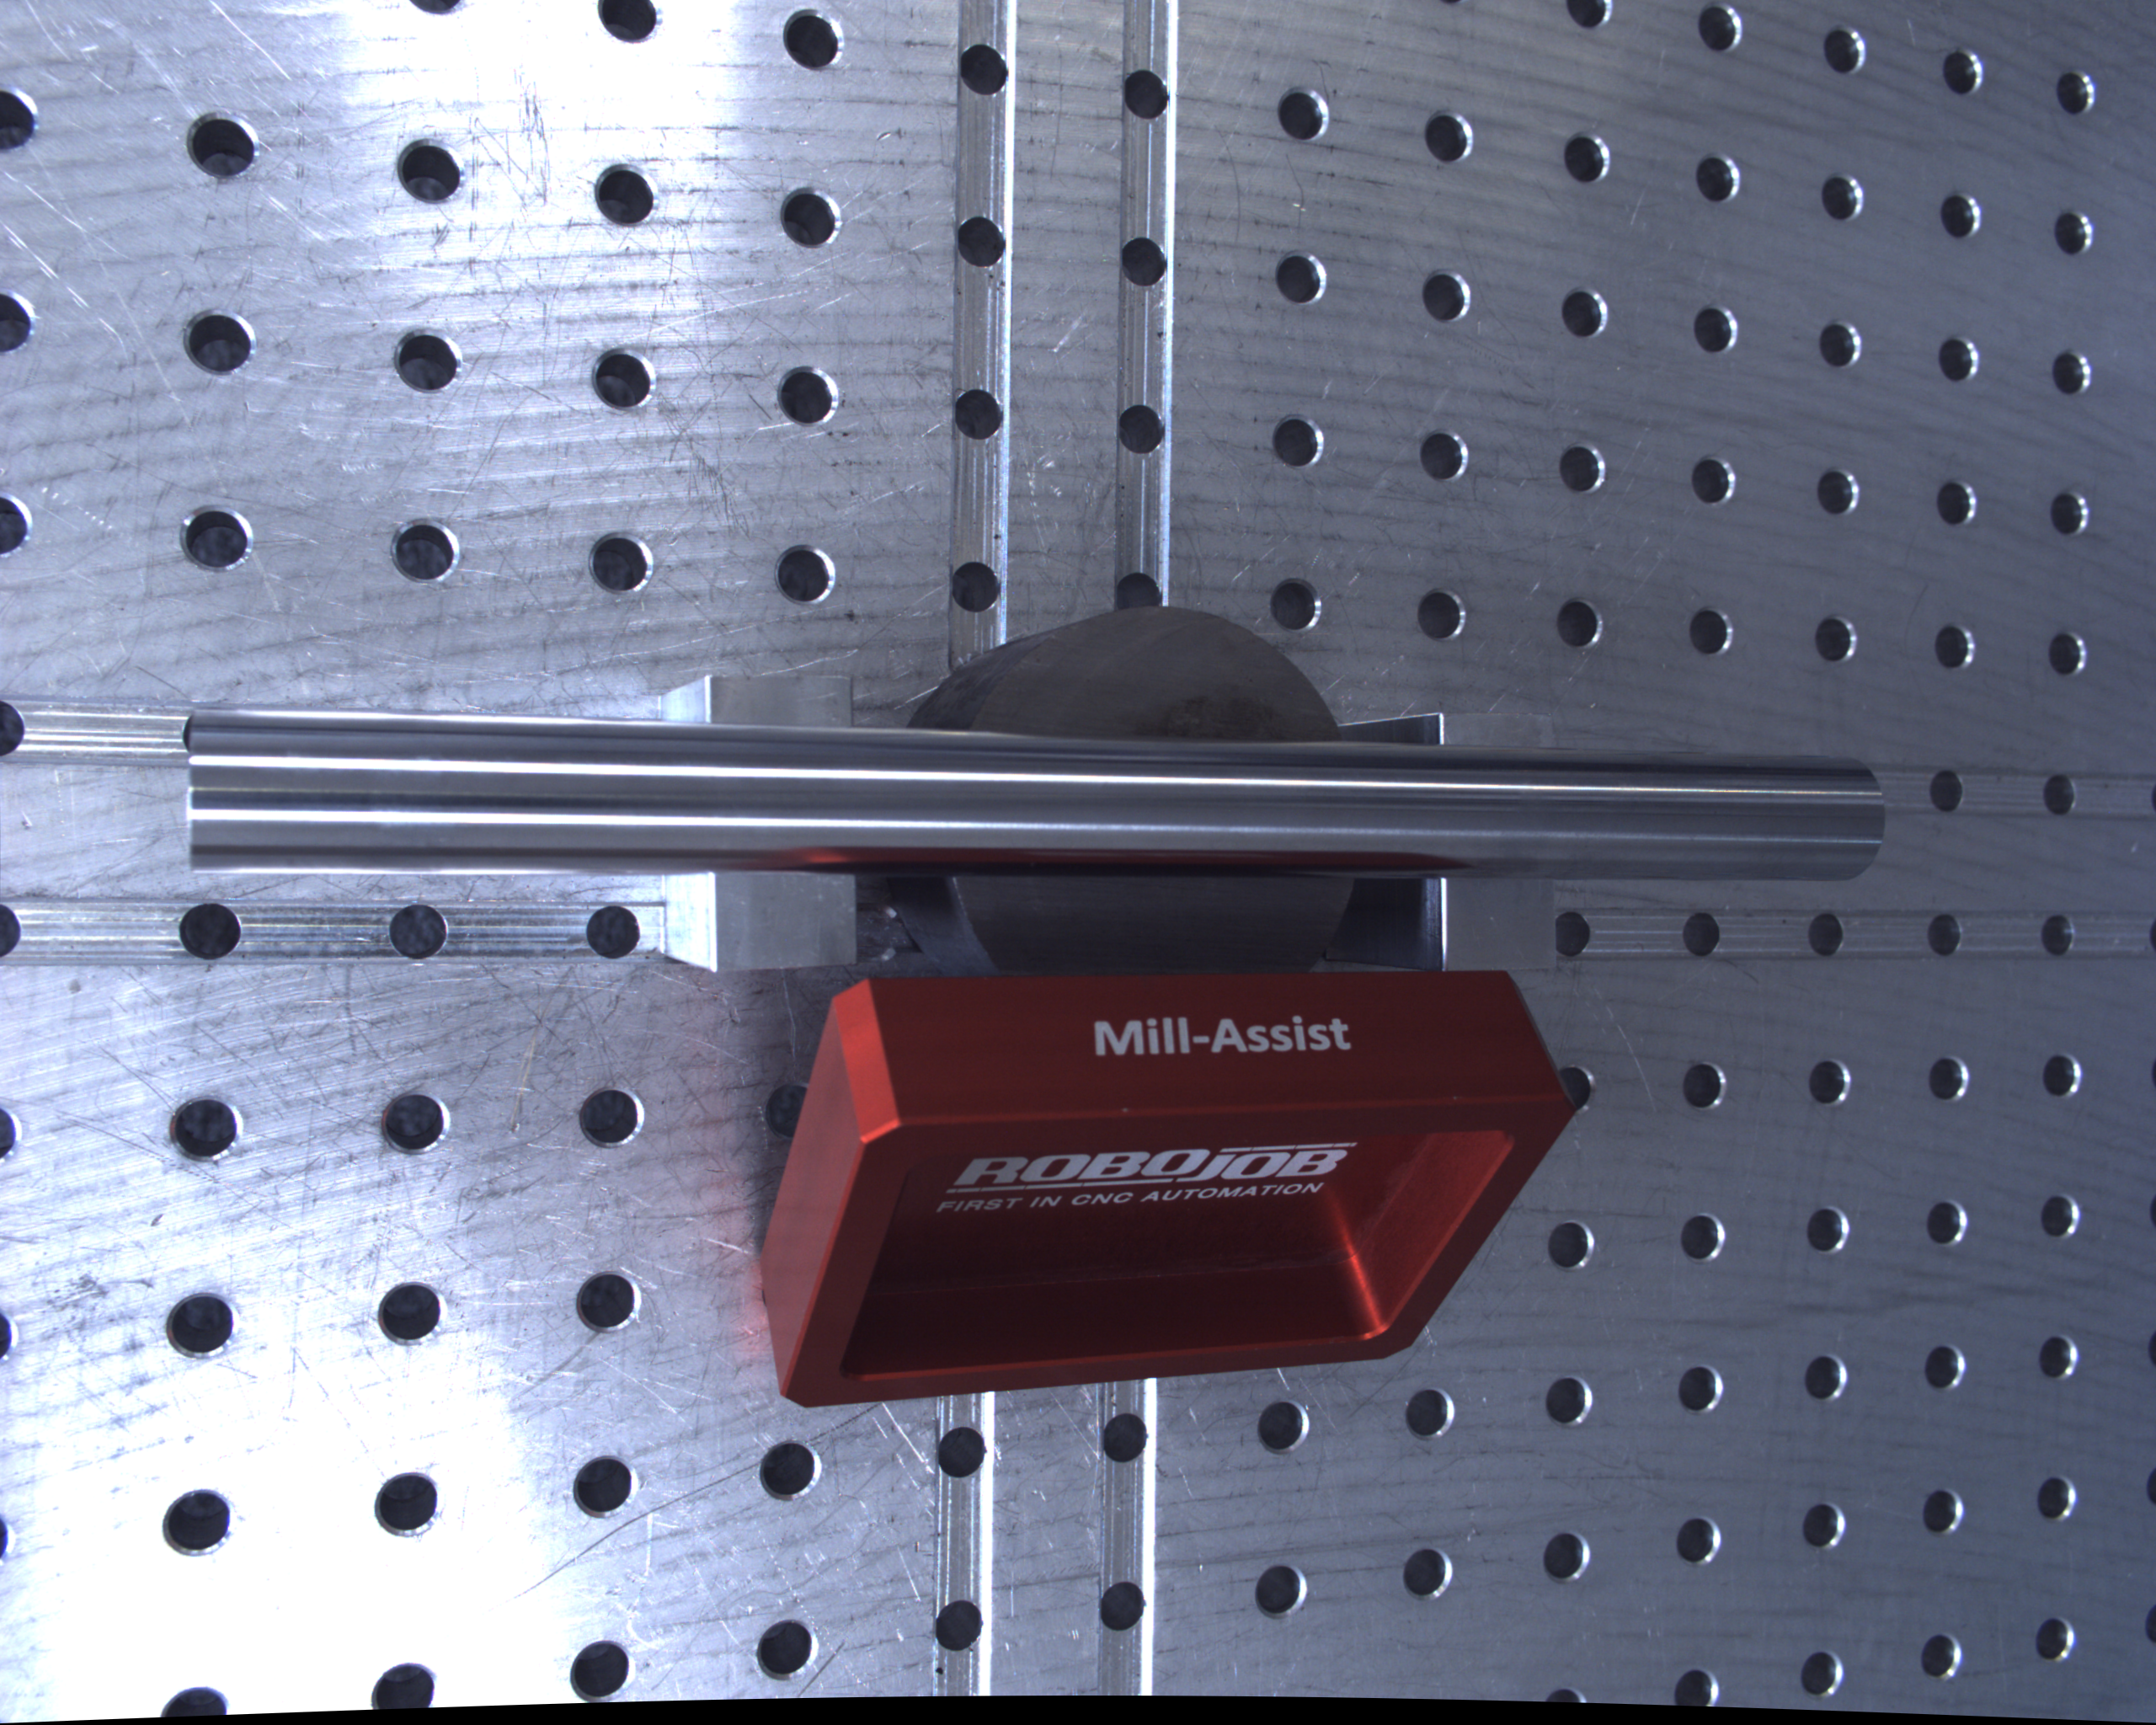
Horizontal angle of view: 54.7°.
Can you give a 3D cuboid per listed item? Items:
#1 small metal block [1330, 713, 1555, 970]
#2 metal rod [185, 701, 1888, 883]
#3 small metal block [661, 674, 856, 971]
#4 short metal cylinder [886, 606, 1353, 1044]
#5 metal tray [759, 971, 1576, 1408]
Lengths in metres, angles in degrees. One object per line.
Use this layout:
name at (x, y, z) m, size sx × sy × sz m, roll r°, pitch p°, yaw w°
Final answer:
small metal block at (0.072, -0.004, 0.426) m, size 0.025 × 0.050 × 0.050 m, roll -1°, pitch 91°, yaw -20°
metal rod at (0.010, -0.010, 0.363) m, size 0.302 × 0.025 × 0.025 m, roll 1°, pitch 90°, yaw -20°
small metal block at (-0.059, -0.007, 0.378) m, size 0.025 × 0.050 × 0.050 m, roll -1°, pitch 91°, yaw -20°
short metal cylinder at (0.007, -0.007, 0.401) m, size 0.081 × 0.050 × 0.080 m, roll 0°, pitch 90°, yaw -20°
metal tray at (0.014, 0.060, 0.386) m, size 0.131 × 0.089 × 0.030 m, roll 0°, pitch 47°, yaw -20°
